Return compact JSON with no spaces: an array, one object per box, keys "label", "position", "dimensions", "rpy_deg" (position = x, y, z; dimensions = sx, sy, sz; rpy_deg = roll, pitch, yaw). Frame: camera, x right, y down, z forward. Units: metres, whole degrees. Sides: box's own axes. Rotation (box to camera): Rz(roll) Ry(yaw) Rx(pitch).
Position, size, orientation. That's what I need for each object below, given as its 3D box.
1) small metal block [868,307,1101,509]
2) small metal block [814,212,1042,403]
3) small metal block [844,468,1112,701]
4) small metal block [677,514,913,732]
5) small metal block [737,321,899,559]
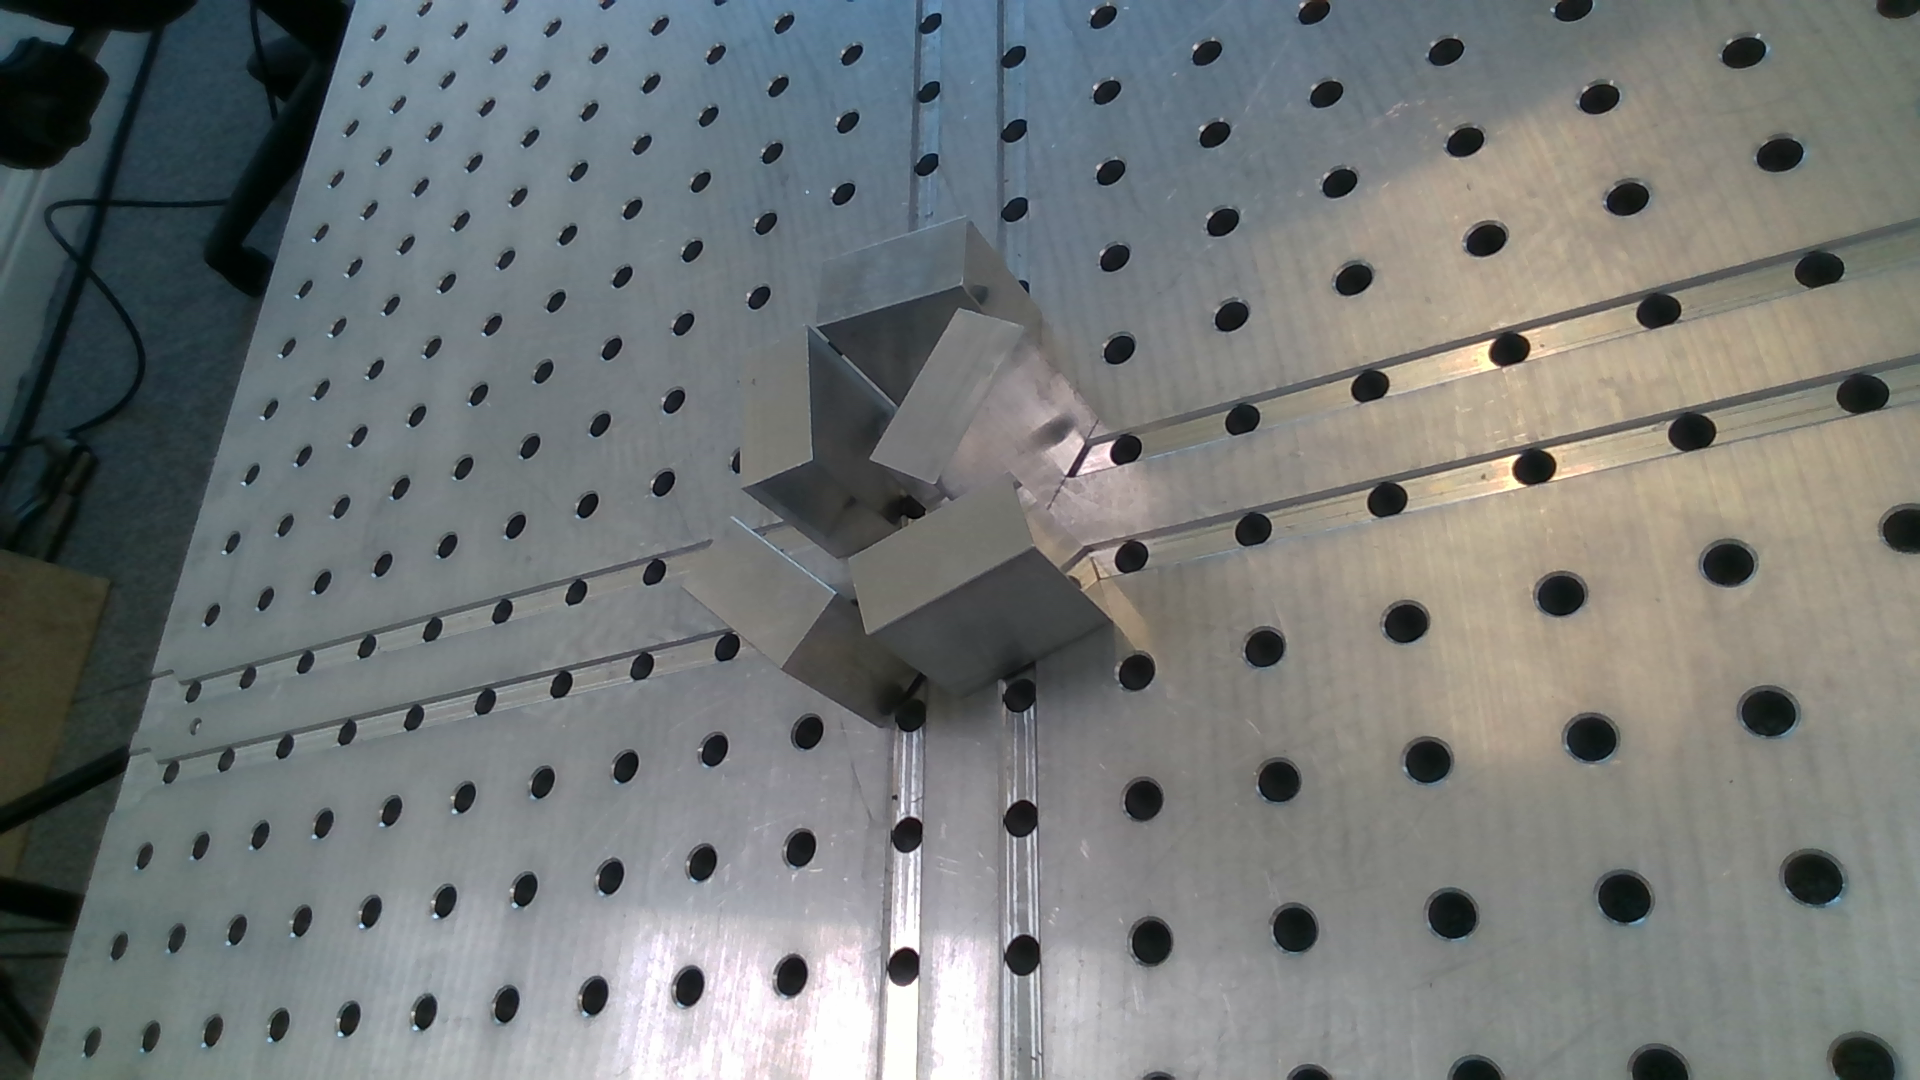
[{"label":"small metal block","position":[0.008,-0.029,0.390],"dimensions":[0.025,0.050,0.050],"rpy_deg":[22,79,38]},{"label":"small metal block","position":[-0.009,-0.068,0.421],"dimensions":[0.050,0.050,0.025],"rpy_deg":[-11,60,27]},{"label":"small metal block","position":[0.005,0.014,0.369],"dimensions":[0.050,0.050,0.025],"rpy_deg":[-28,54,15]},{"label":"small metal block","position":[-0.045,0.024,0.394],"dimensions":[0.050,0.050,0.025],"rpy_deg":[33,84,39]},{"label":"small metal block","position":[-0.043,-0.030,0.422],"dimensions":[0.025,0.050,0.050],"rpy_deg":[-19,57,22]}]
